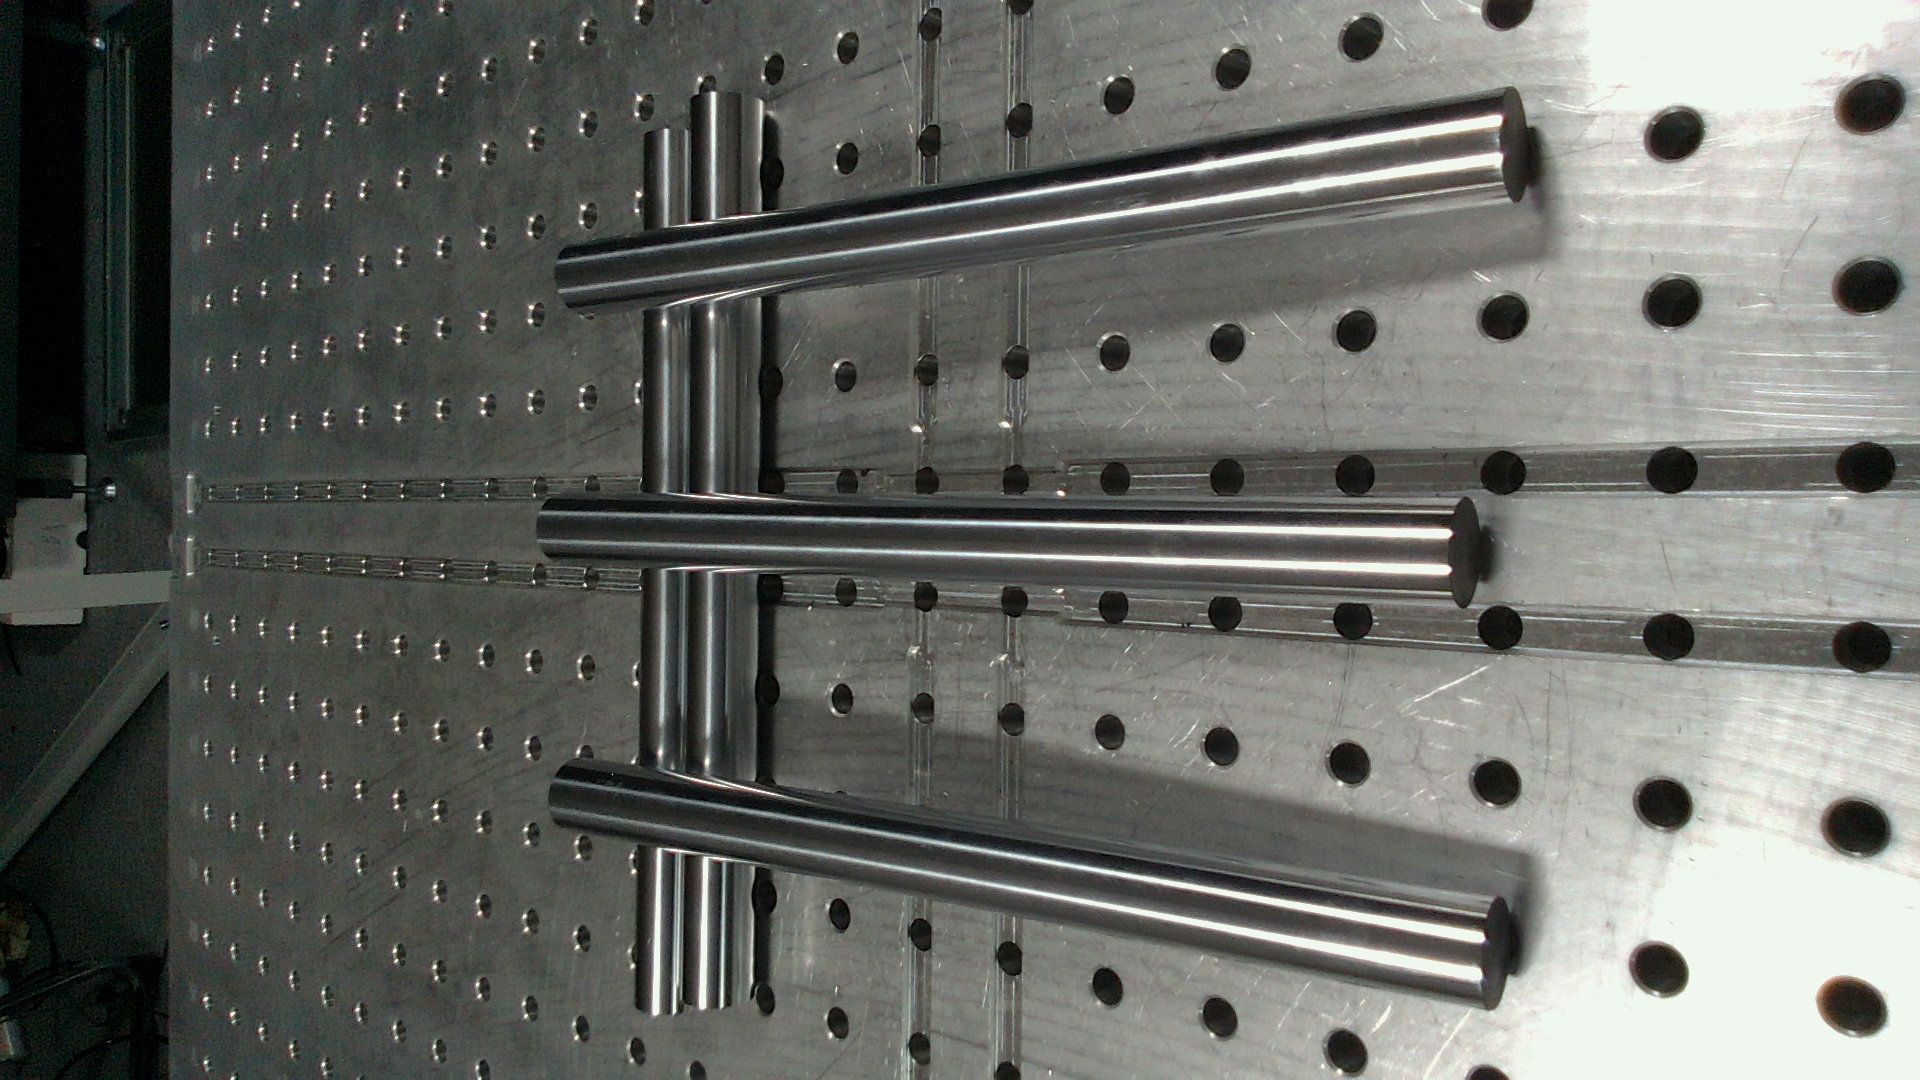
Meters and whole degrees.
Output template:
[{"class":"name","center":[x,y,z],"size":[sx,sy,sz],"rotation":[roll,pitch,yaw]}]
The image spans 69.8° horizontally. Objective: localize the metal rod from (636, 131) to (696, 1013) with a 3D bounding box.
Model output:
[{"class":"metal rod","center":[-0.099,0.011,0.481],"size":[0.025,0.025,0.300],"rotation":[1,91,40]}]

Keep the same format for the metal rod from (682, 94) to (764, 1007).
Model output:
[{"class":"metal rod","center":[-0.080,0.004,0.465],"size":[0.025,0.025,0.300],"rotation":[1,91,40]}]

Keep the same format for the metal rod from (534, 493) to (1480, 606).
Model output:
[{"class":"metal rod","center":[-0.012,-0.001,0.388],"size":[0.299,0.025,0.025],"rotation":[1,91,34]}]

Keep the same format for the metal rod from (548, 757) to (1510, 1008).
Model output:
[{"class":"metal rod","center":[-0.006,0.088,0.384],"size":[0.299,0.025,0.025],"rotation":[1,91,34]}]

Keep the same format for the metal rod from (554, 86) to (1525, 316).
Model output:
[{"class":"metal rod","center":[-0.004,-0.087,0.382],"size":[0.299,0.025,0.025],"rotation":[1,90,34]}]
